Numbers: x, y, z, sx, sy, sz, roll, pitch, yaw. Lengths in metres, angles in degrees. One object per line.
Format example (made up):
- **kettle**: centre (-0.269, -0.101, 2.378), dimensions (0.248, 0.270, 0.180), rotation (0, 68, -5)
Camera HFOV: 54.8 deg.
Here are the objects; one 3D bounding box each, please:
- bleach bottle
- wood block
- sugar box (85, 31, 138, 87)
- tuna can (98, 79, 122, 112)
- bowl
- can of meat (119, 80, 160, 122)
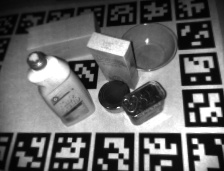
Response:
- **bleach bottle**: centre (-0.130, 0.006, 0.494), dimensions (0.102, 0.253, 0.067), rotation (-25, 61, 1)
- **wood block**: centre (-0.153, -0.150, 0.666), dimensions (0.206, 0.090, 0.090), rotation (-10, 68, 6)
- **sugar box**: centre (0.002, -0.060, 0.536), dimensions (0.092, 0.178, 0.045), rotation (18, 72, 24)
- **tuna can**: centre (-0.009, 0.026, 0.578), dimensions (0.085, 0.034, 0.085), rotation (-4, 68, 11)
- **bowl**: centre (0.099, -0.109, 0.611), dimensions (0.161, 0.056, 0.161), rotation (-6, 63, 13)
- **can of meat**: centre (0.068, 0.040, 0.535), dimensions (0.102, 0.084, 0.057), rotation (-28, 59, -4)
